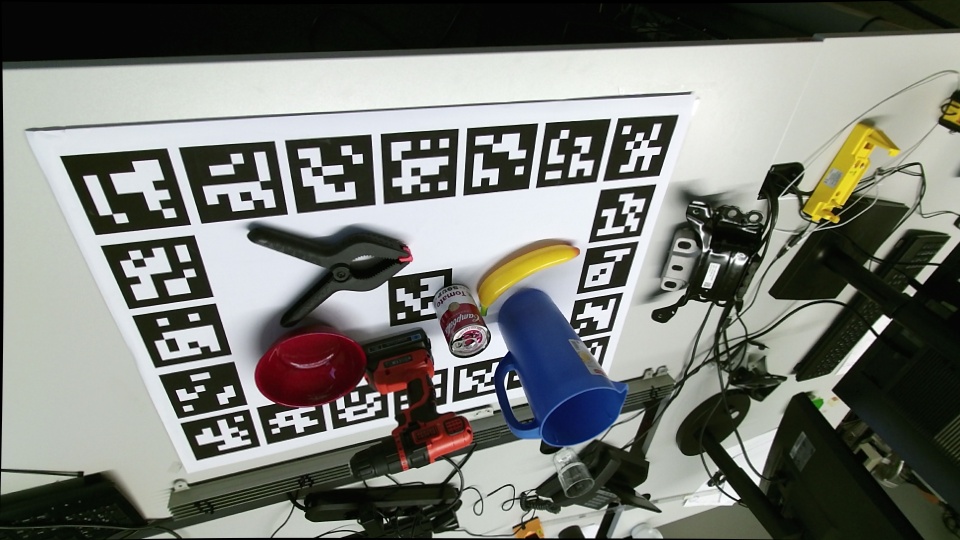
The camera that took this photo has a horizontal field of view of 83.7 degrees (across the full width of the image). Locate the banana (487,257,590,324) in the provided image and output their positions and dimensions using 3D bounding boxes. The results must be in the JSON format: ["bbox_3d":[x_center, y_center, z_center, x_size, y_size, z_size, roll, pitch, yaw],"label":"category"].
[{"bbox_3d":[0.090,0.023,0.882,0.198,0.038,0.074,-28,139,0],"label":"banana"}]

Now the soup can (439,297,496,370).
[{"bbox_3d":[-0.019,0.100,0.849,0.068,0.101,0.068,-14,137,-13],"label":"soup can"}]

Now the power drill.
[{"bbox_3d":[-0.116,0.231,0.822,0.185,0.186,0.057,-13,128,-14],"label":"power drill"}]

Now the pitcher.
[{"bbox_3d":[0.115,0.173,0.867,0.189,0.241,0.133,-28,134,-2],"label":"pitcher"}]

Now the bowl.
[{"bbox_3d":[-0.244,0.154,0.819,0.162,0.055,0.161,-12,127,-16],"label":"bowl"}]

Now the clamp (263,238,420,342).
[{"bbox_3d":[-0.179,0.015,0.748,0.203,0.036,0.165,-11,124,-16],"label":"clamp"}]
